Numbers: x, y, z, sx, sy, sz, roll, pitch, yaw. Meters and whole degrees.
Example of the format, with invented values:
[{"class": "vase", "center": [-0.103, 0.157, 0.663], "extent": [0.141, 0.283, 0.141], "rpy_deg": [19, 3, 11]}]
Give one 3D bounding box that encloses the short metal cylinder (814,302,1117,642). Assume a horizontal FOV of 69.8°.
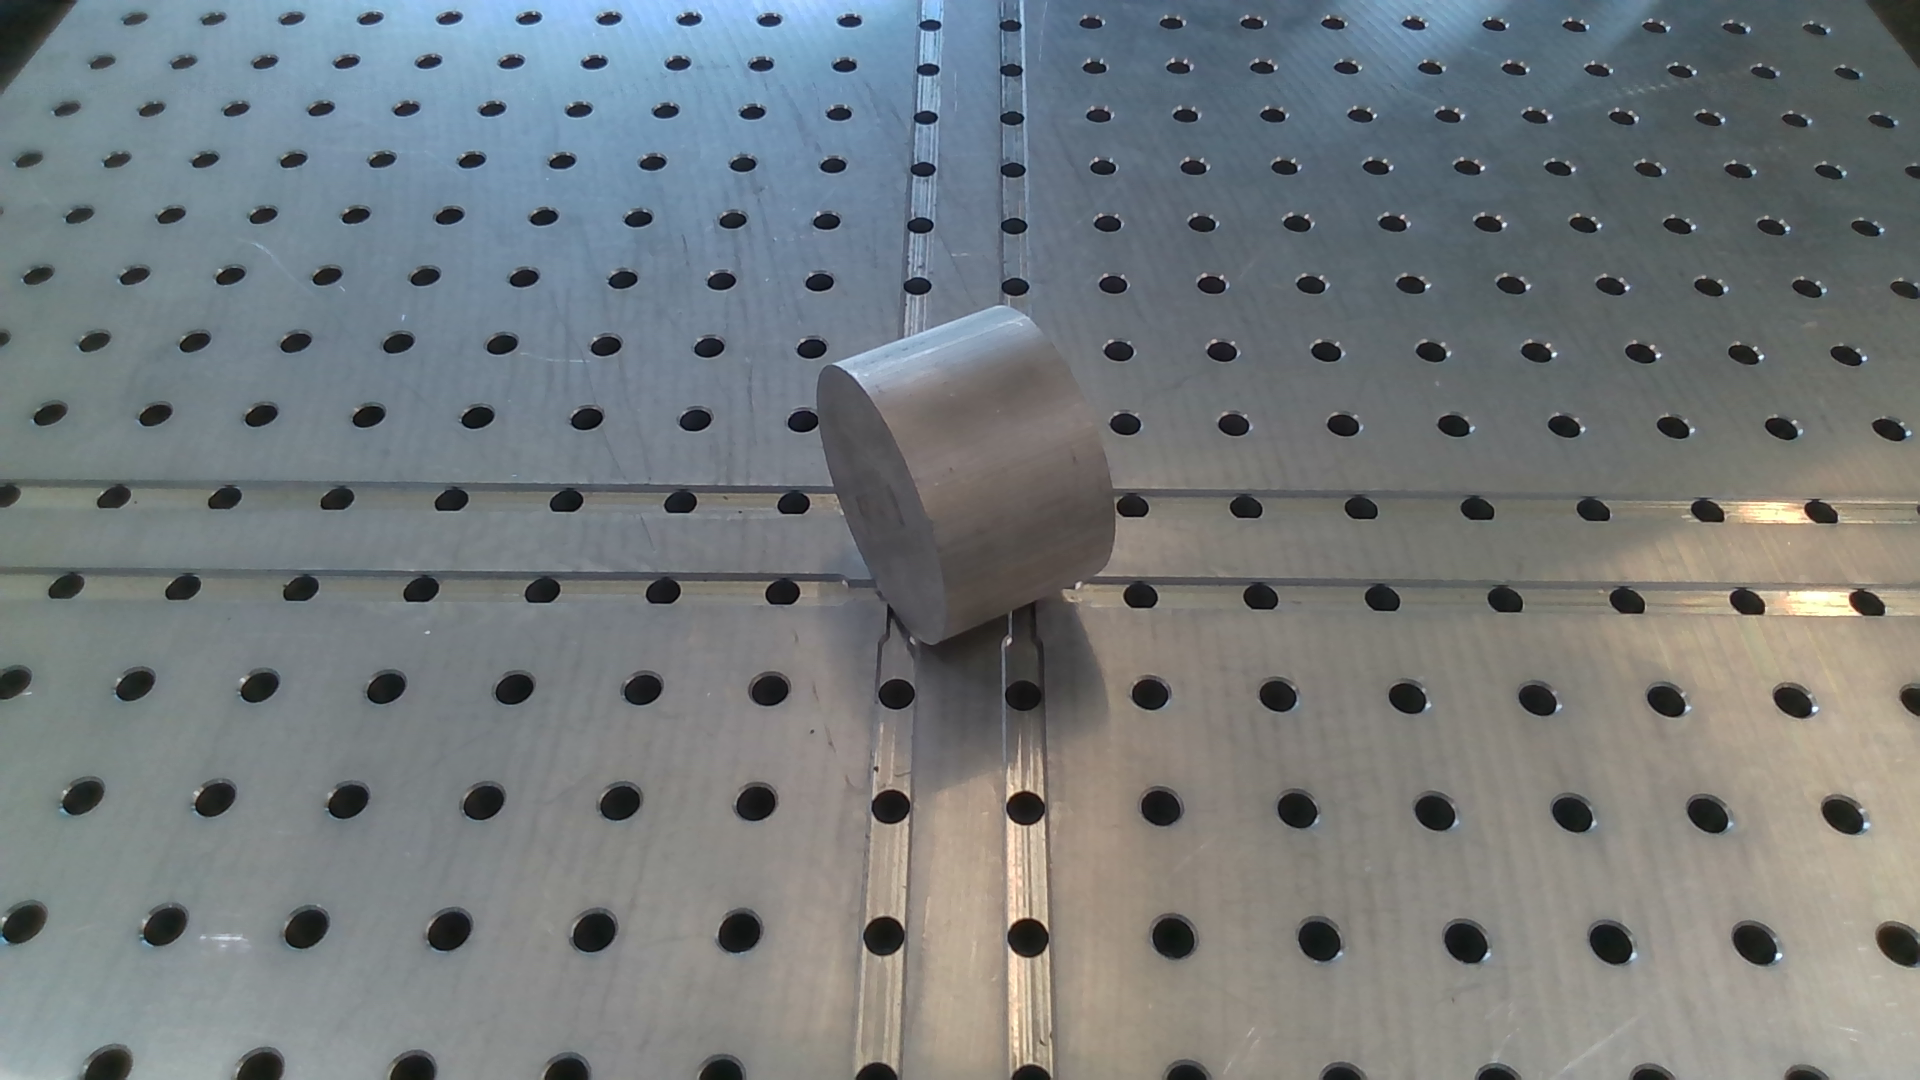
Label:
[{"class": "short metal cylinder", "center": [0.000, -0.019, 0.376], "extent": [0.050, 0.080, 0.080], "rpy_deg": [-22, 53, -18]}]
